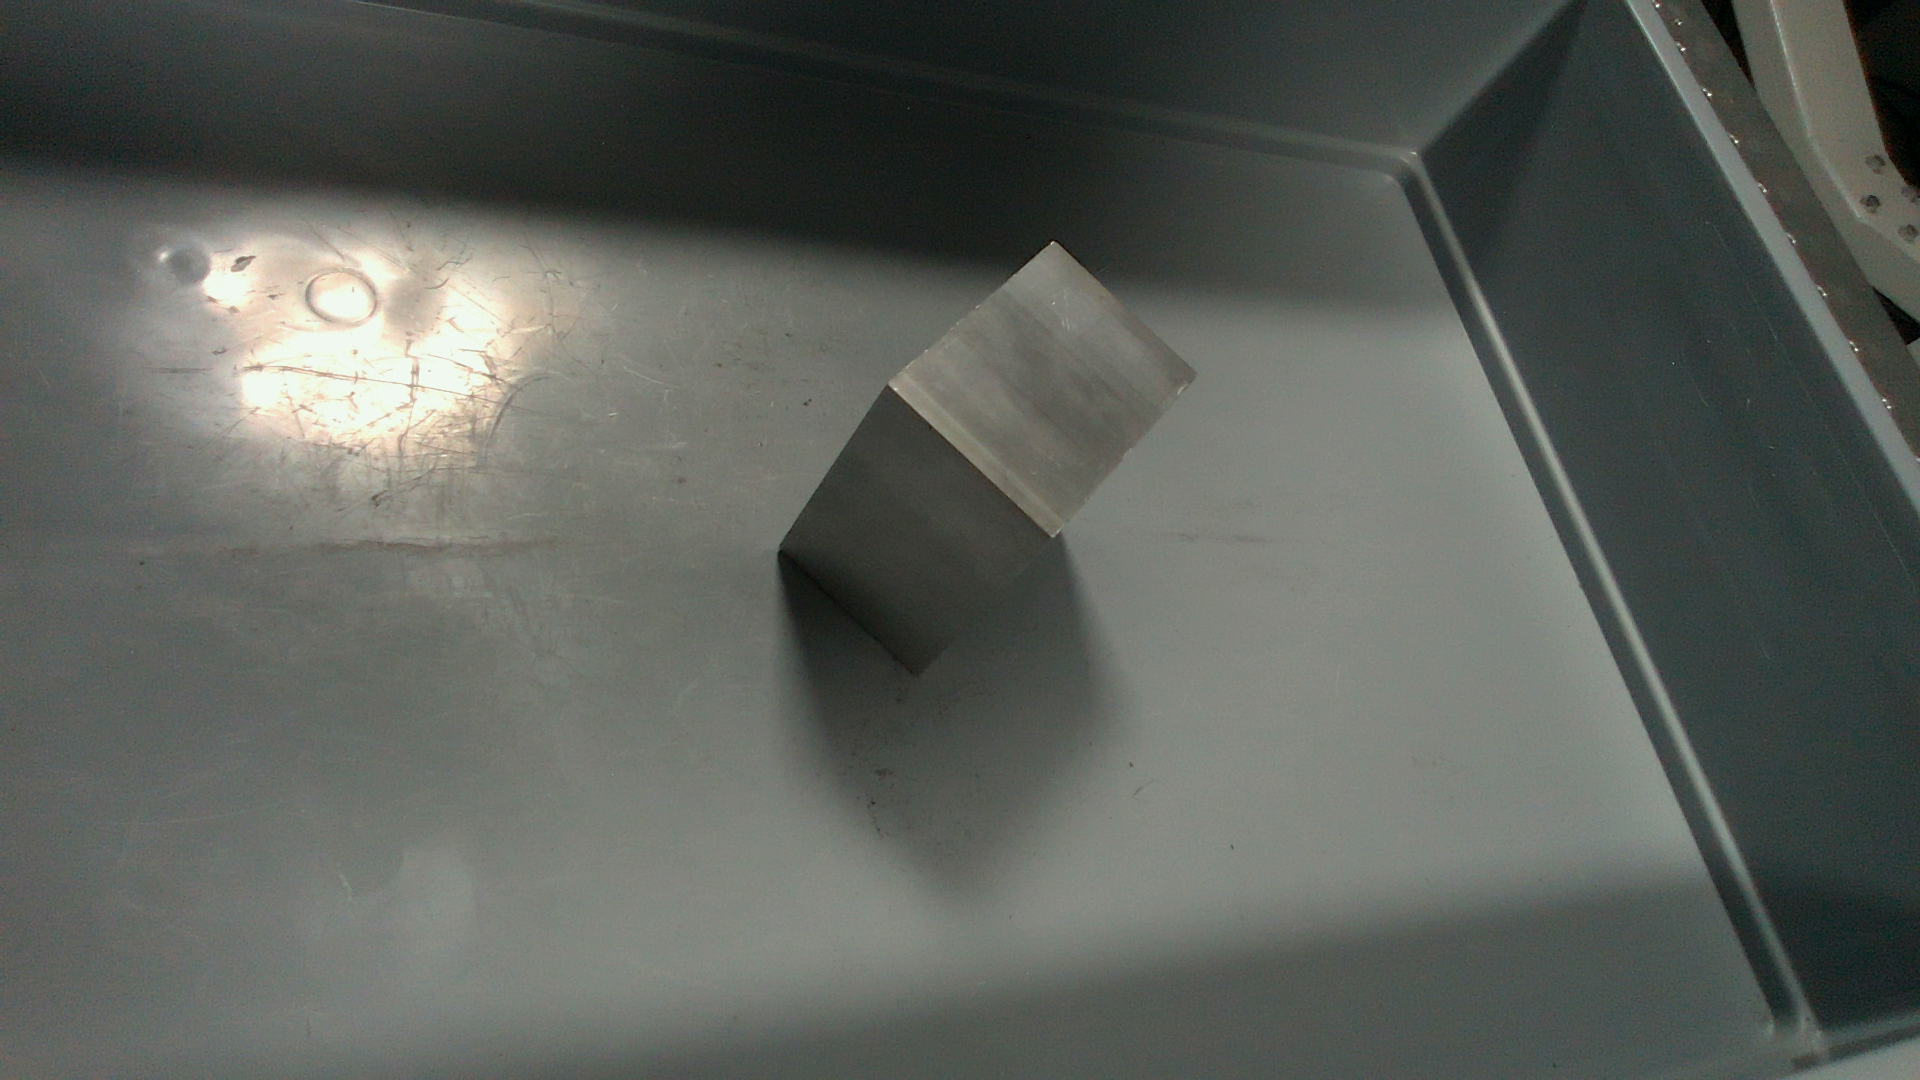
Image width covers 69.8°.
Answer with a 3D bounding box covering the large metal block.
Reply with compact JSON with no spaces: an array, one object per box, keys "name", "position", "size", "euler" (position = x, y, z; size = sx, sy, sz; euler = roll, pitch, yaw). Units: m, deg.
[{"name":"large metal block","position":[0.007,-0.022,0.368],"size":[0.050,0.080,0.080],"euler":[43,51,1]}]
